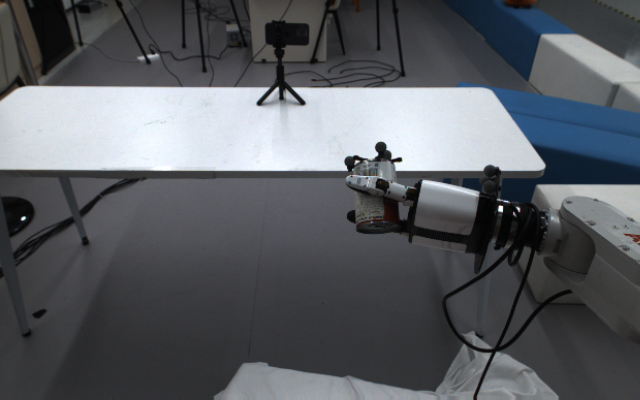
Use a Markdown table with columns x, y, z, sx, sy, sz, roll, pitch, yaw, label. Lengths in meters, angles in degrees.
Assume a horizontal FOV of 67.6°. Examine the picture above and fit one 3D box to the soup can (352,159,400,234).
| x | y | z | sx | sy | sz | roll | pitch | yaw | label |
| --- | --- | --- | --- | --- | --- | --- | --- | --- | --- |
| 0.088 | -0.005 | 0.743 | 0.067 | 0.067 | 0.101 | -1 | 71 | -5 | soup can |
